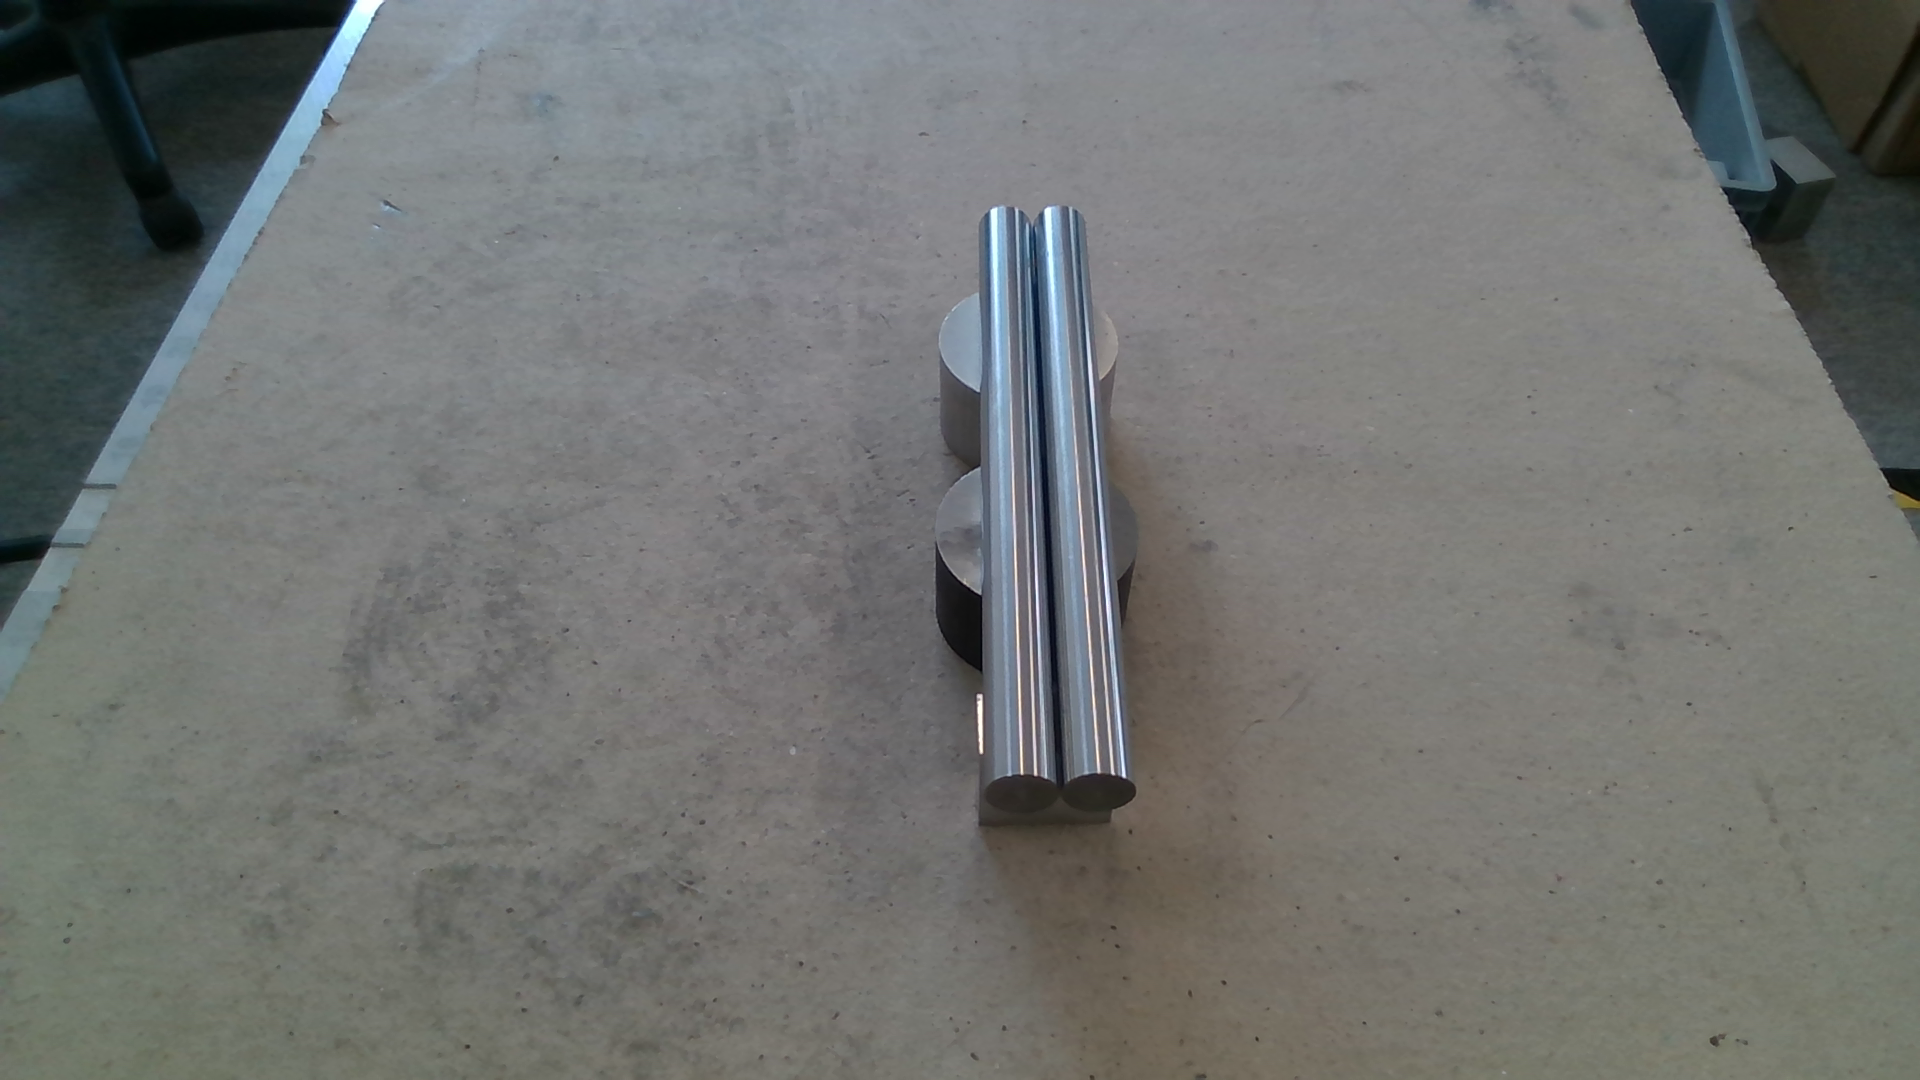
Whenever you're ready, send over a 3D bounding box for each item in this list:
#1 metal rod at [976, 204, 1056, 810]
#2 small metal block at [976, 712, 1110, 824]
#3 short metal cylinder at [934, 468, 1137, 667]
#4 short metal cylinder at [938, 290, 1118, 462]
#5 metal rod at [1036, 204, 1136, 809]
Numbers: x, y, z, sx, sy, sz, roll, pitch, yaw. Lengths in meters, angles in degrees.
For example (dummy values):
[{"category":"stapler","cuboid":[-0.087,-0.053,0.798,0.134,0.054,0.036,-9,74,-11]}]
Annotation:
[{"category":"metal rod","cuboid":[0.019,-0.032,0.548,0.025,0.025,0.299,0,50,0]},{"category":"small metal block","cuboid":[0.031,0.081,0.506,0.050,0.050,0.025,-1,50,-1]},{"category":"short metal cylinder","cuboid":[0.030,0.011,0.563,0.080,0.050,0.080,0,50,0]},{"category":"short metal cylinder","cuboid":[0.030,-0.074,0.632,0.080,0.050,0.080,0,50,0]},{"category":"metal rod","cuboid":[0.046,-0.032,0.548,0.025,0.025,0.299,0,50,0]}]
